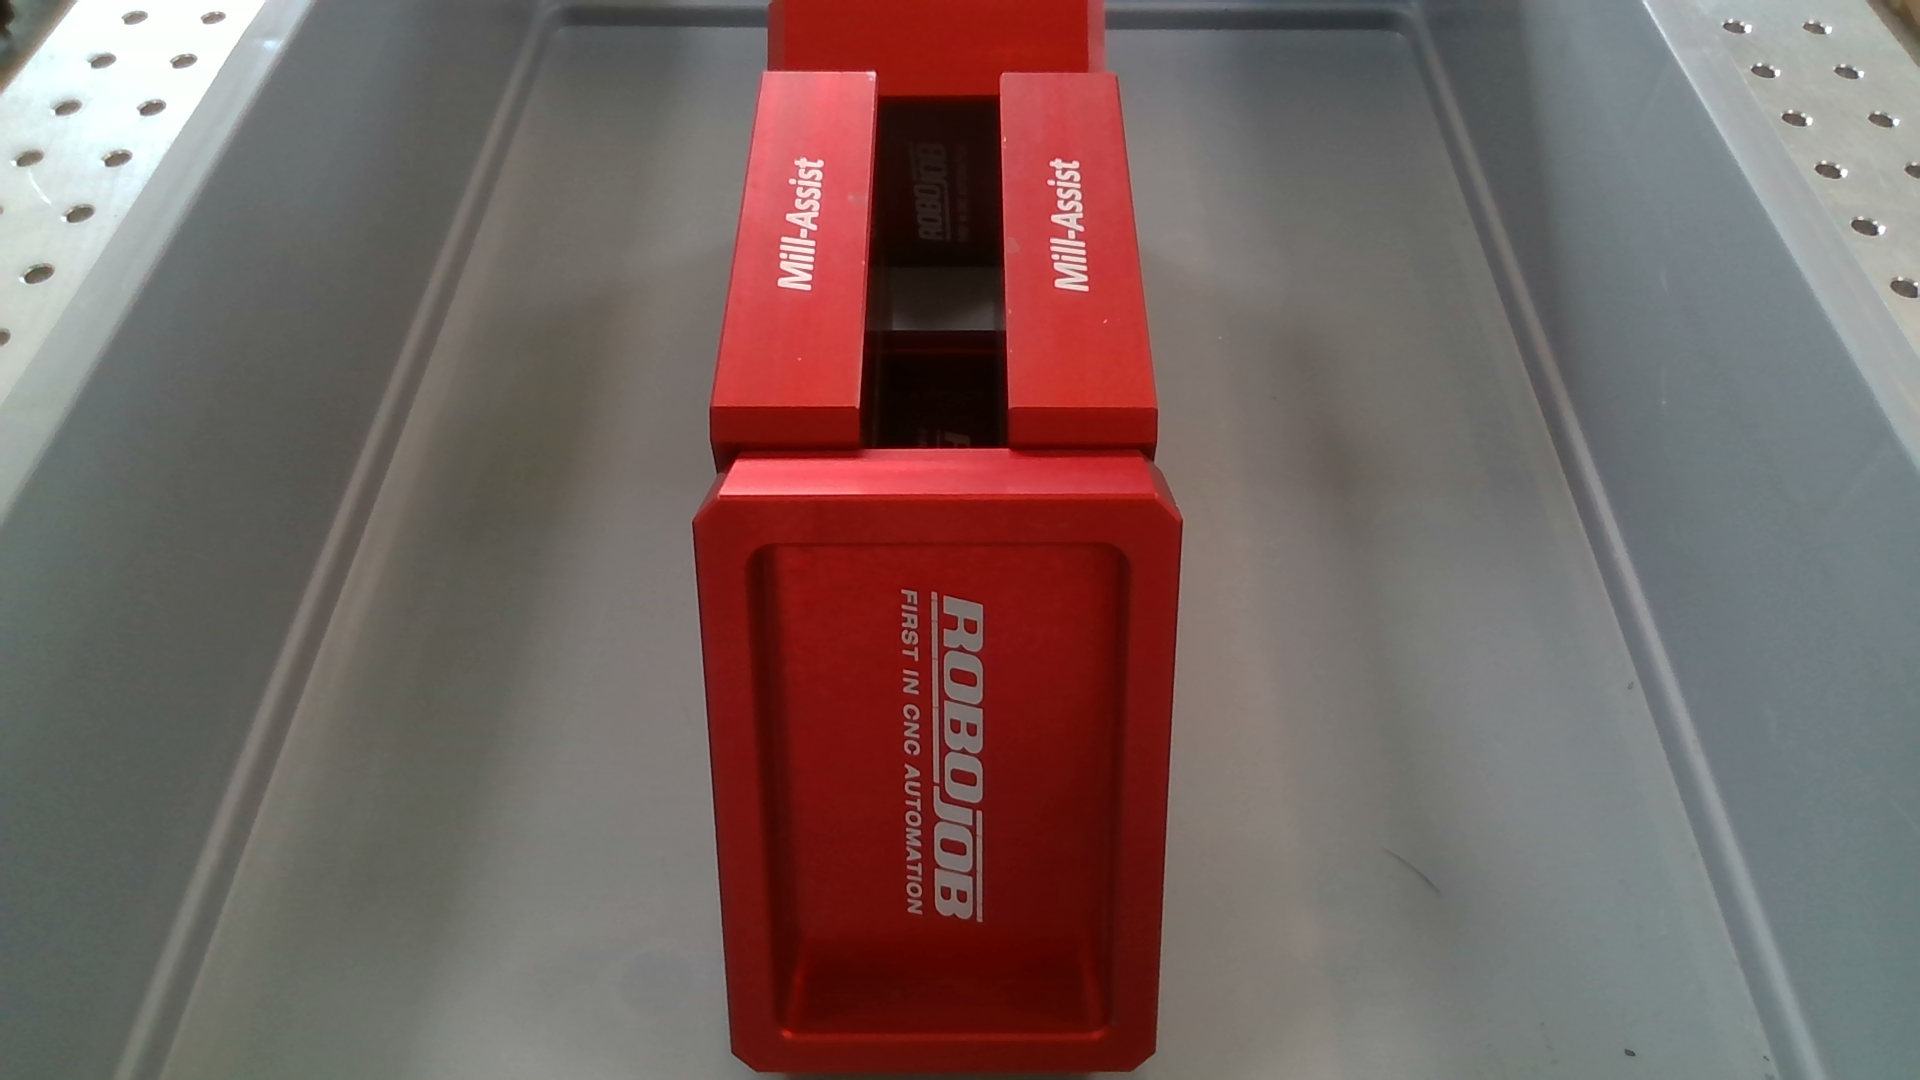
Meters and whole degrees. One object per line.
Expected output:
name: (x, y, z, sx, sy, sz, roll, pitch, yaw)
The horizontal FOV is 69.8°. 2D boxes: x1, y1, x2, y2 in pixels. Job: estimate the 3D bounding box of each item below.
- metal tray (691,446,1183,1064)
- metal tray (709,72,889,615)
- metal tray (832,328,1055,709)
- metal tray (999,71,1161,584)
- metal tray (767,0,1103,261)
metal tray: (-0.004, 0.047, 0.286, 0.090, 0.130, 0.030, 0, 21, 0)
metal tray: (-0.036, -0.044, 0.348, 0.030, 0.090, 0.130, 0, 51, 0)
metal tray: (-0.006, -0.006, 0.395, 0.090, 0.030, 0.130, 0, 51, 0)
metal tray: (0.025, -0.045, 0.347, 0.030, 0.090, 0.130, 0, 50, 0)
metal tray: (-0.006, -0.122, 0.428, 0.090, 0.130, 0.030, 0, 82, 1)
